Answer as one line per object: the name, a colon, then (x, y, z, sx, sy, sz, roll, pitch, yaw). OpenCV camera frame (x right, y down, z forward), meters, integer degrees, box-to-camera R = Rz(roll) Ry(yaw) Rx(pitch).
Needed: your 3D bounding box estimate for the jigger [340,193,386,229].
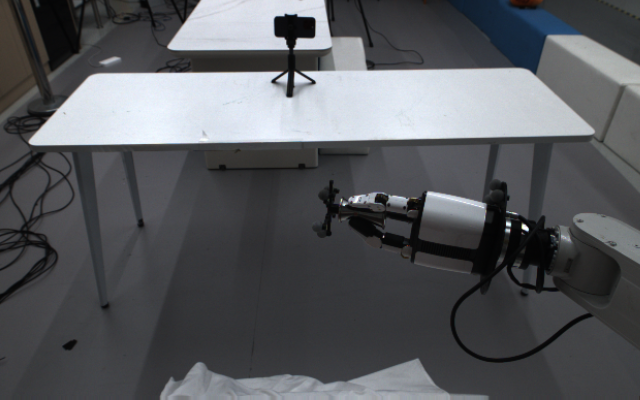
jigger: (0.071, 0.014, 0.724, 0.071, 0.043, 0.043, 7, 35, 12)
